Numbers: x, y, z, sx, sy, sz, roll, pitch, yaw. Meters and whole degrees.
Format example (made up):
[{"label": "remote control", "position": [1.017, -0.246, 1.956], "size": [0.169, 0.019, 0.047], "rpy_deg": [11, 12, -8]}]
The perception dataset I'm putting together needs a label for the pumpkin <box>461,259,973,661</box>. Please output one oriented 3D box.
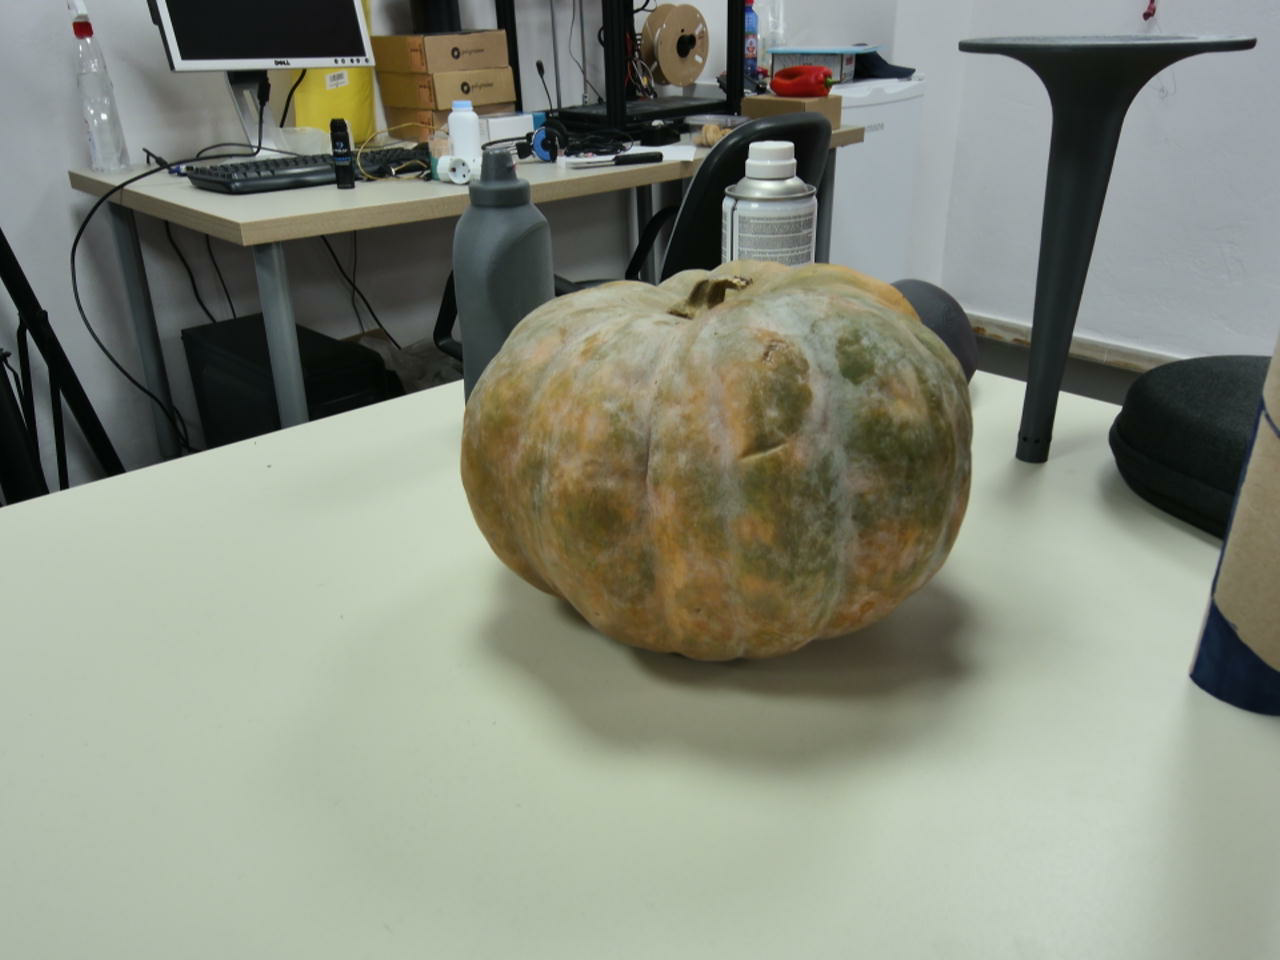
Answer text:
[{"label": "pumpkin", "position": [0.037, -0.020, 0.488], "size": [0.252, 0.169, 0.251], "rpy_deg": [0, 24, 0]}]
